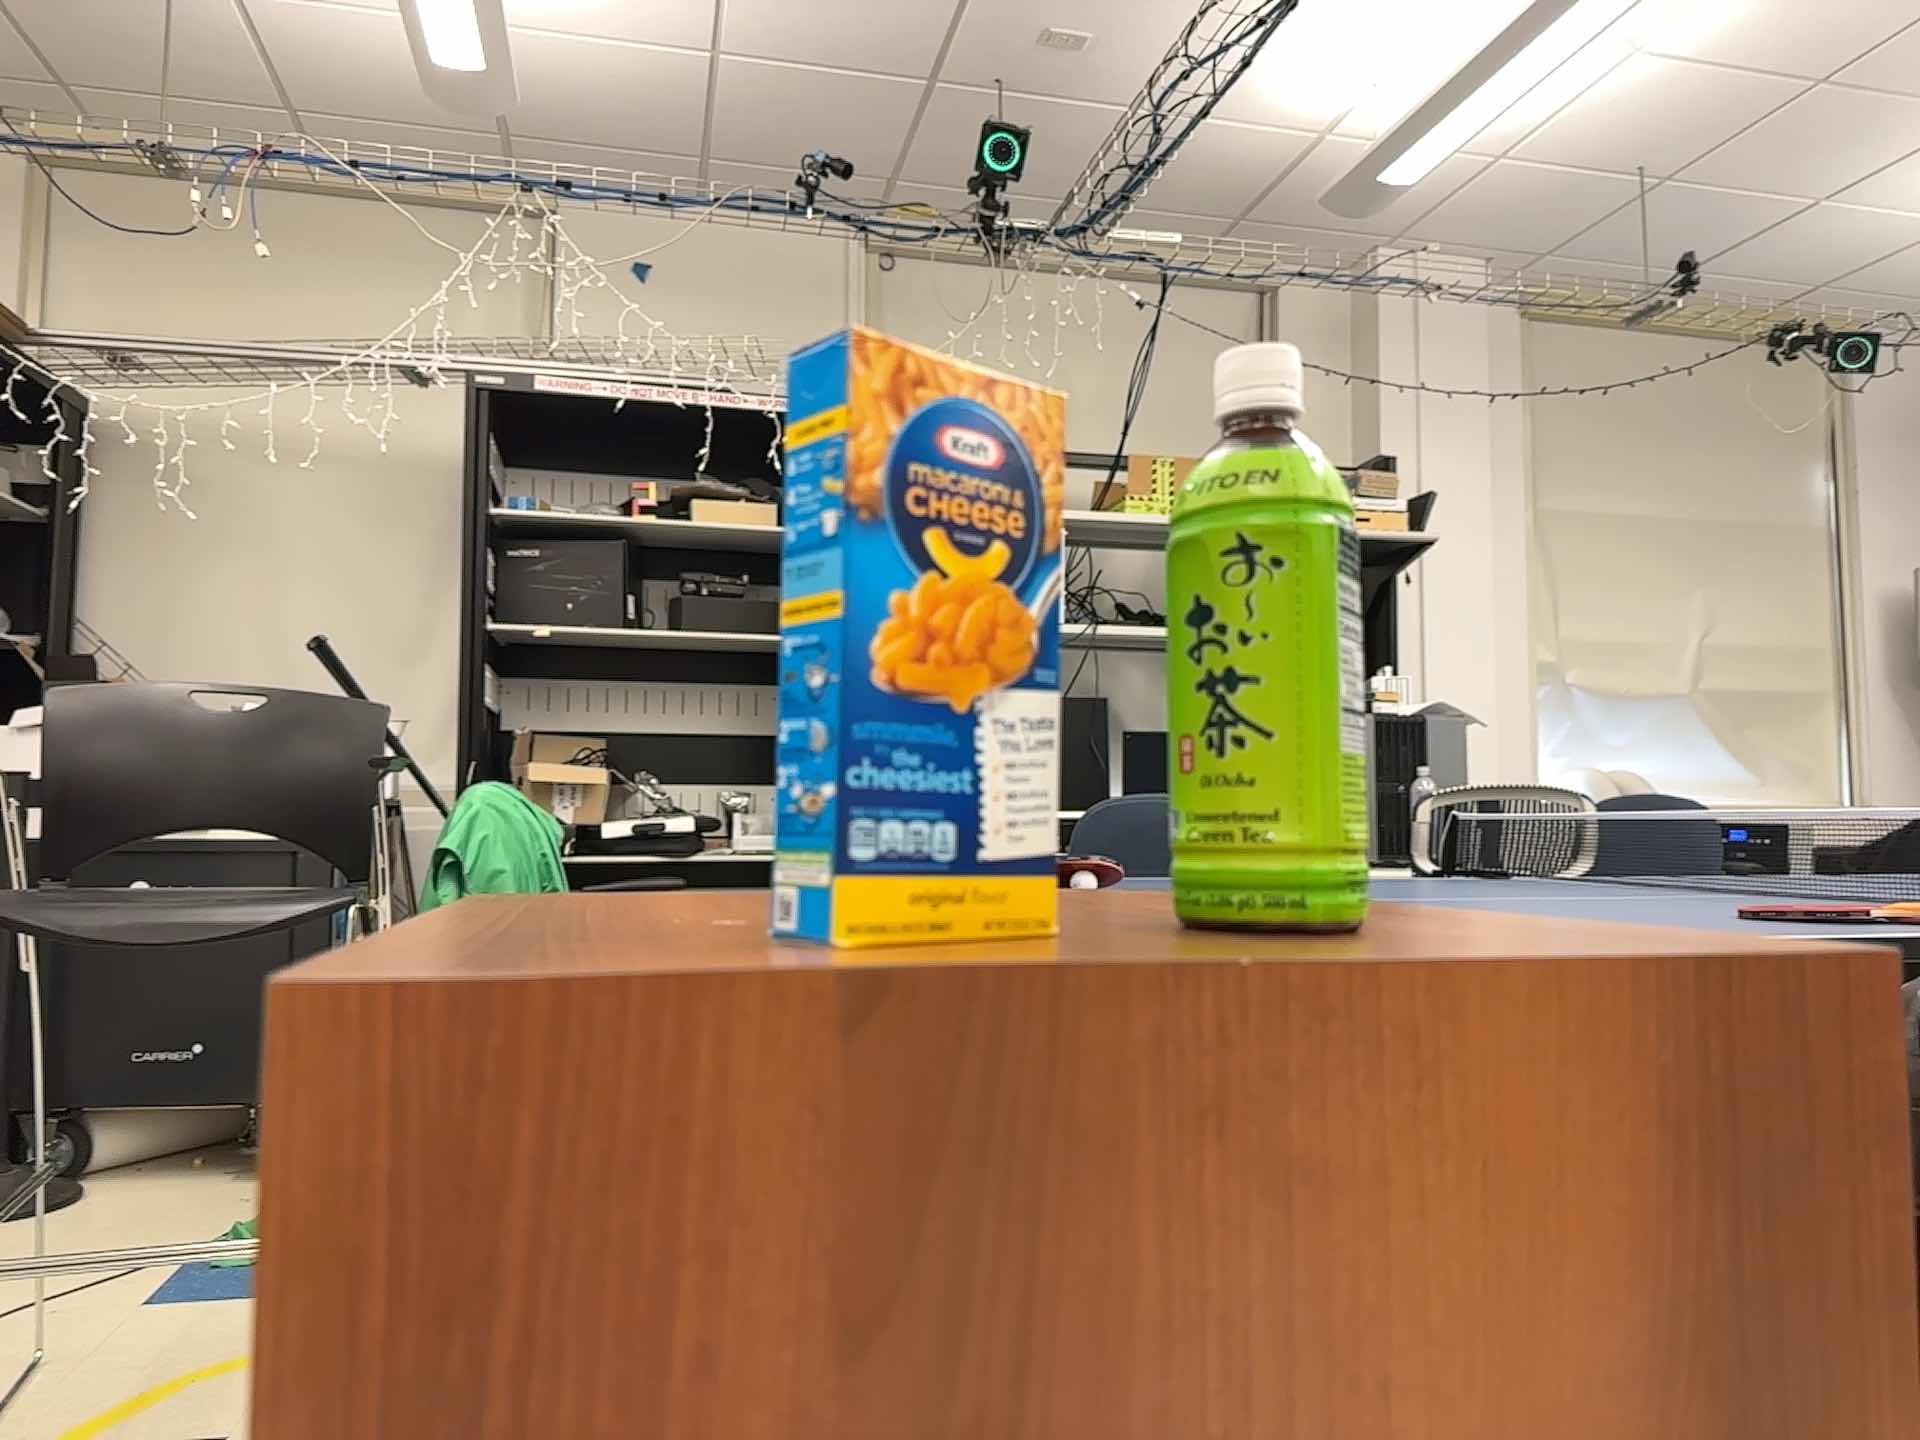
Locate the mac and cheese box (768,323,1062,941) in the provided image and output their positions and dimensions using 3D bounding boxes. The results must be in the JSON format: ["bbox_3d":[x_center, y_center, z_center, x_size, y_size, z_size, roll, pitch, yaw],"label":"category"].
[{"bbox_3d":[-0.012,-0.024,0.434,0.088,0.181,0.035,5,-7,-37],"label":"mac and cheese box"}]

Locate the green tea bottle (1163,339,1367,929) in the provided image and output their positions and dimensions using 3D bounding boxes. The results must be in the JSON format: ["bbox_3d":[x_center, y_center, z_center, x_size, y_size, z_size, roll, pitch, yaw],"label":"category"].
[{"bbox_3d":[0.110,-0.032,0.492,0.073,0.212,0.073,2,-8,0],"label":"green tea bottle"}]
